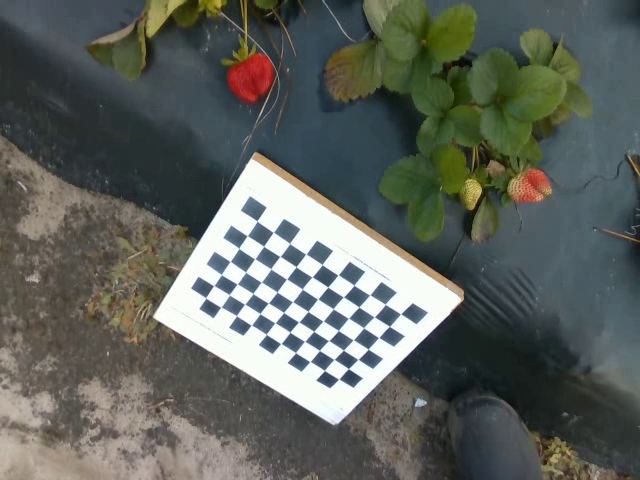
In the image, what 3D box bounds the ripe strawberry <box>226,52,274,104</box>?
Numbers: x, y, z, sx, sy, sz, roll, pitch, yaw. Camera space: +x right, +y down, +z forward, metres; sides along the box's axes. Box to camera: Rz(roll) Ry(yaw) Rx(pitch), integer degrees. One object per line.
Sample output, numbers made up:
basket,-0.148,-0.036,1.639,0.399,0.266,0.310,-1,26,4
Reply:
ripe strawberry,-0.020,-0.045,0.174,0.017,0.015,0.013,-28,-24,25
